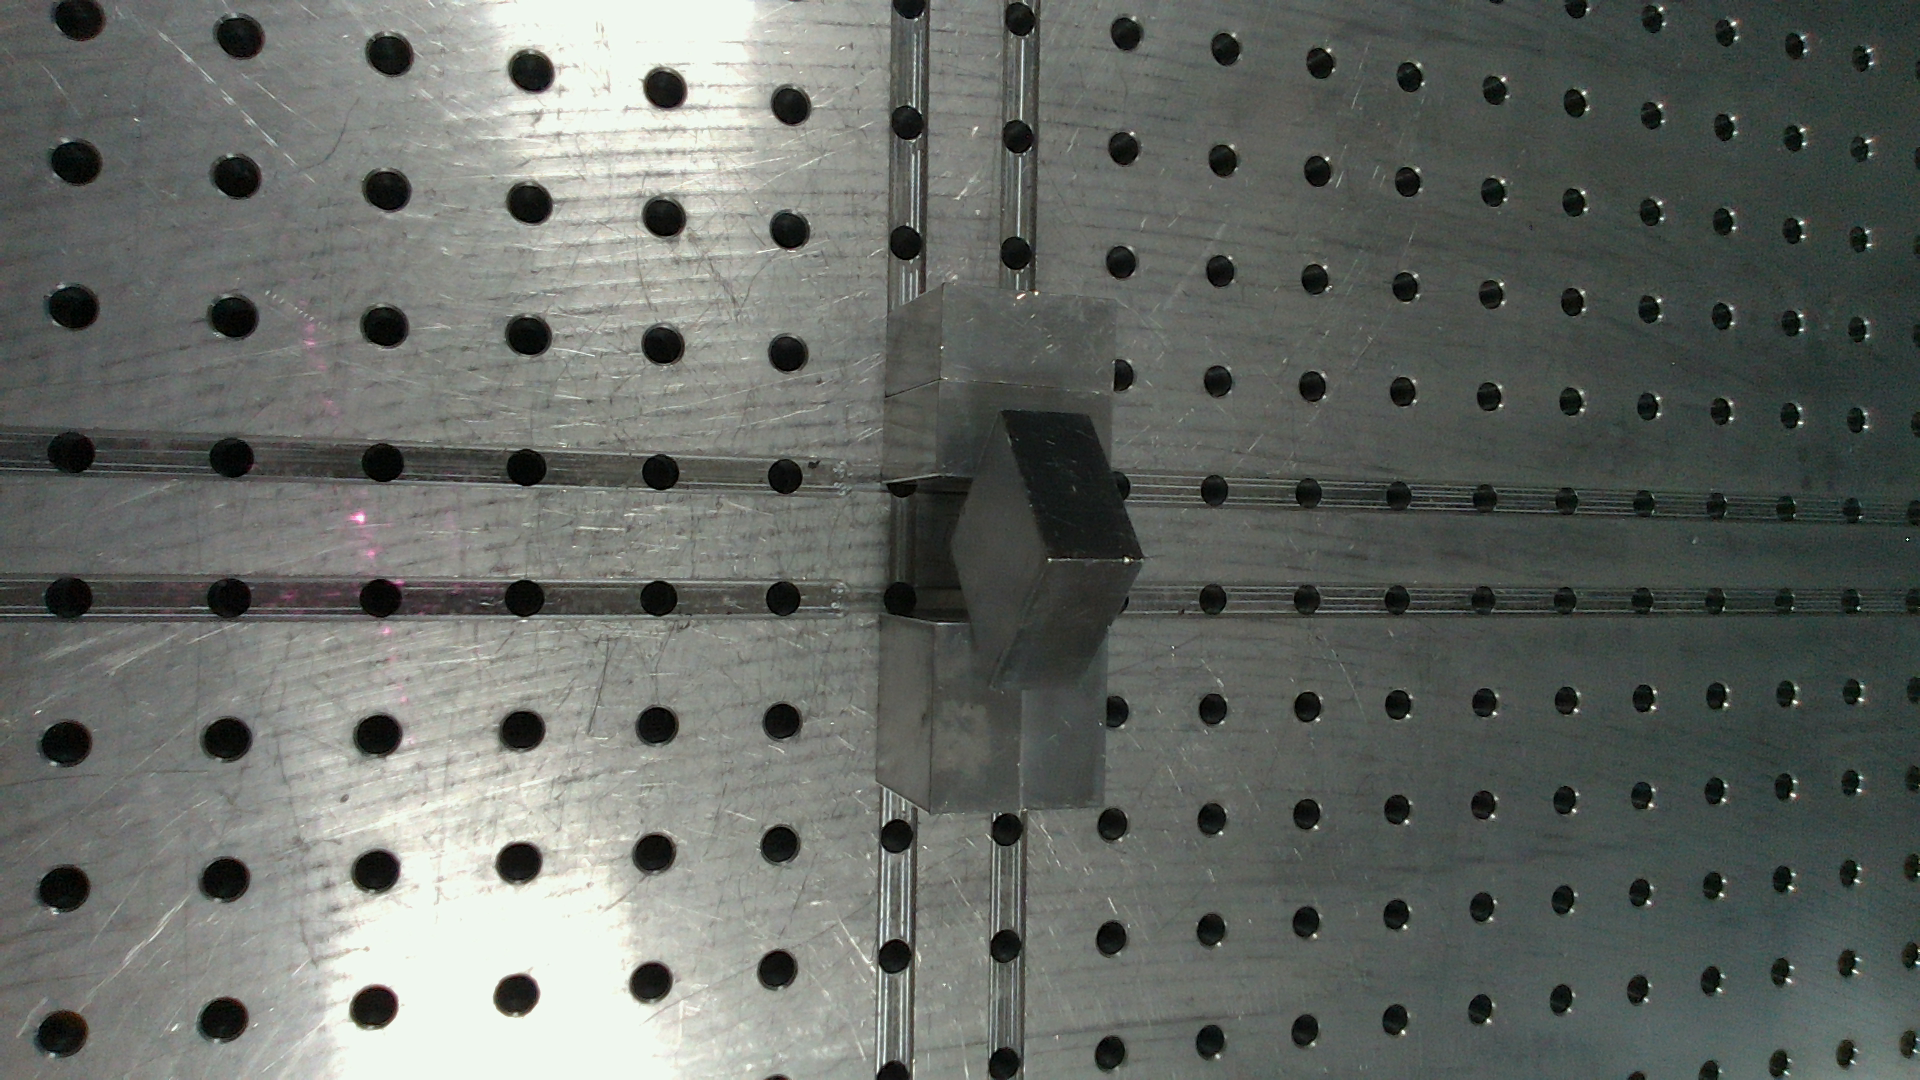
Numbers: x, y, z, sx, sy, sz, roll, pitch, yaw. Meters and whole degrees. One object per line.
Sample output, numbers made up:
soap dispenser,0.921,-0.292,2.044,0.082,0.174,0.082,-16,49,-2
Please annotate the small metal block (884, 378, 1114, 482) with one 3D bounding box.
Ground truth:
small metal block,0.009,-0.028,0.385,0.050,0.050,0.025,2,89,-20

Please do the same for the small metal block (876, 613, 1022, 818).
small metal block,-0.004,0.047,0.381,0.025,0.050,0.050,1,90,-20

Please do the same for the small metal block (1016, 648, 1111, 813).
small metal block,0.020,0.047,0.389,0.025,0.050,0.050,1,90,-20

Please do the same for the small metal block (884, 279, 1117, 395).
small metal block,0.010,-0.054,0.386,0.050,0.050,0.025,2,89,-20

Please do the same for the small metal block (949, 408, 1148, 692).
small metal block,0.020,0.003,0.346,0.025,0.050,0.050,0,47,-19
